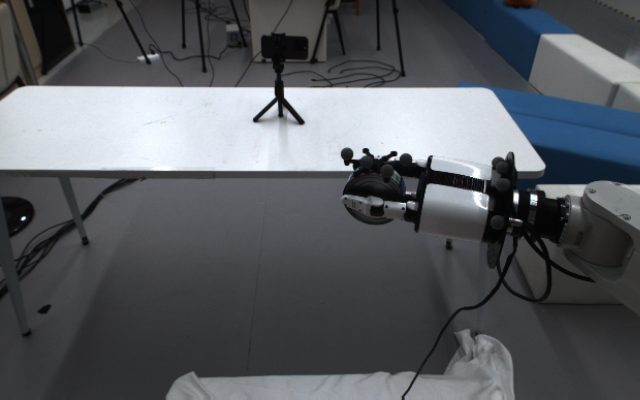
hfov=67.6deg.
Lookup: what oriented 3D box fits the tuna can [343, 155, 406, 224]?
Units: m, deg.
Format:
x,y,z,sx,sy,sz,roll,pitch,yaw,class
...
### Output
x,y,z,sx,sy,sz,roll,pitch,yaw,class
0.078,-0.012,0.683,0.085,0.085,0.034,10,34,12,tuna can
